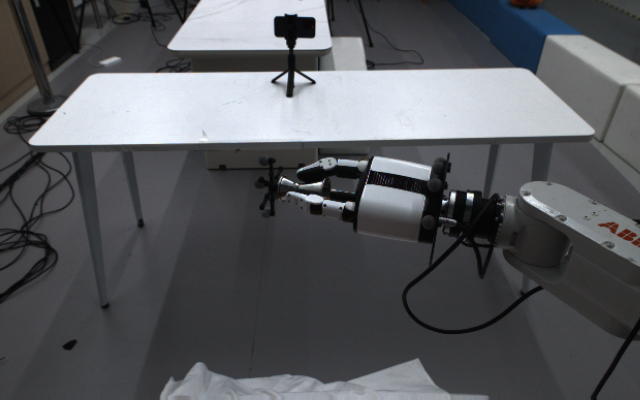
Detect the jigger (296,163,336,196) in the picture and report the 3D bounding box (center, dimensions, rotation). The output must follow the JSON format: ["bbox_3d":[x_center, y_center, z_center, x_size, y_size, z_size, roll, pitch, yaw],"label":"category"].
[{"bbox_3d":[-0.016,-0.017,0.700,0.071,0.043,0.043,5,34,17],"label":"jigger"}]
